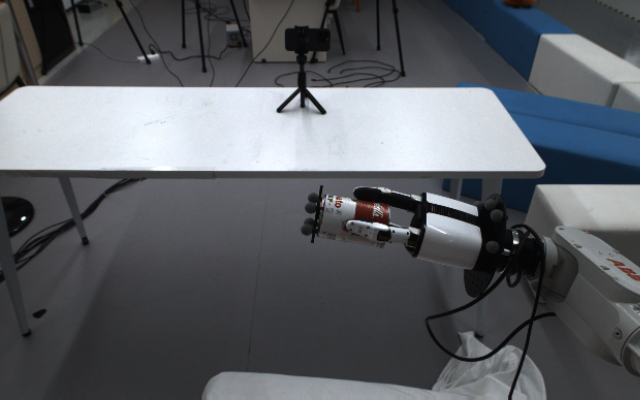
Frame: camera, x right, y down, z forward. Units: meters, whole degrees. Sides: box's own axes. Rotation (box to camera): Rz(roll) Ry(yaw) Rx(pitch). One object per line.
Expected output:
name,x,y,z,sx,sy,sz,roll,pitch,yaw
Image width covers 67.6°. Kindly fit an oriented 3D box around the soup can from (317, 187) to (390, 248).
soup can,0.052,0.032,0.733,0.101,0.067,0.067,9,35,0
